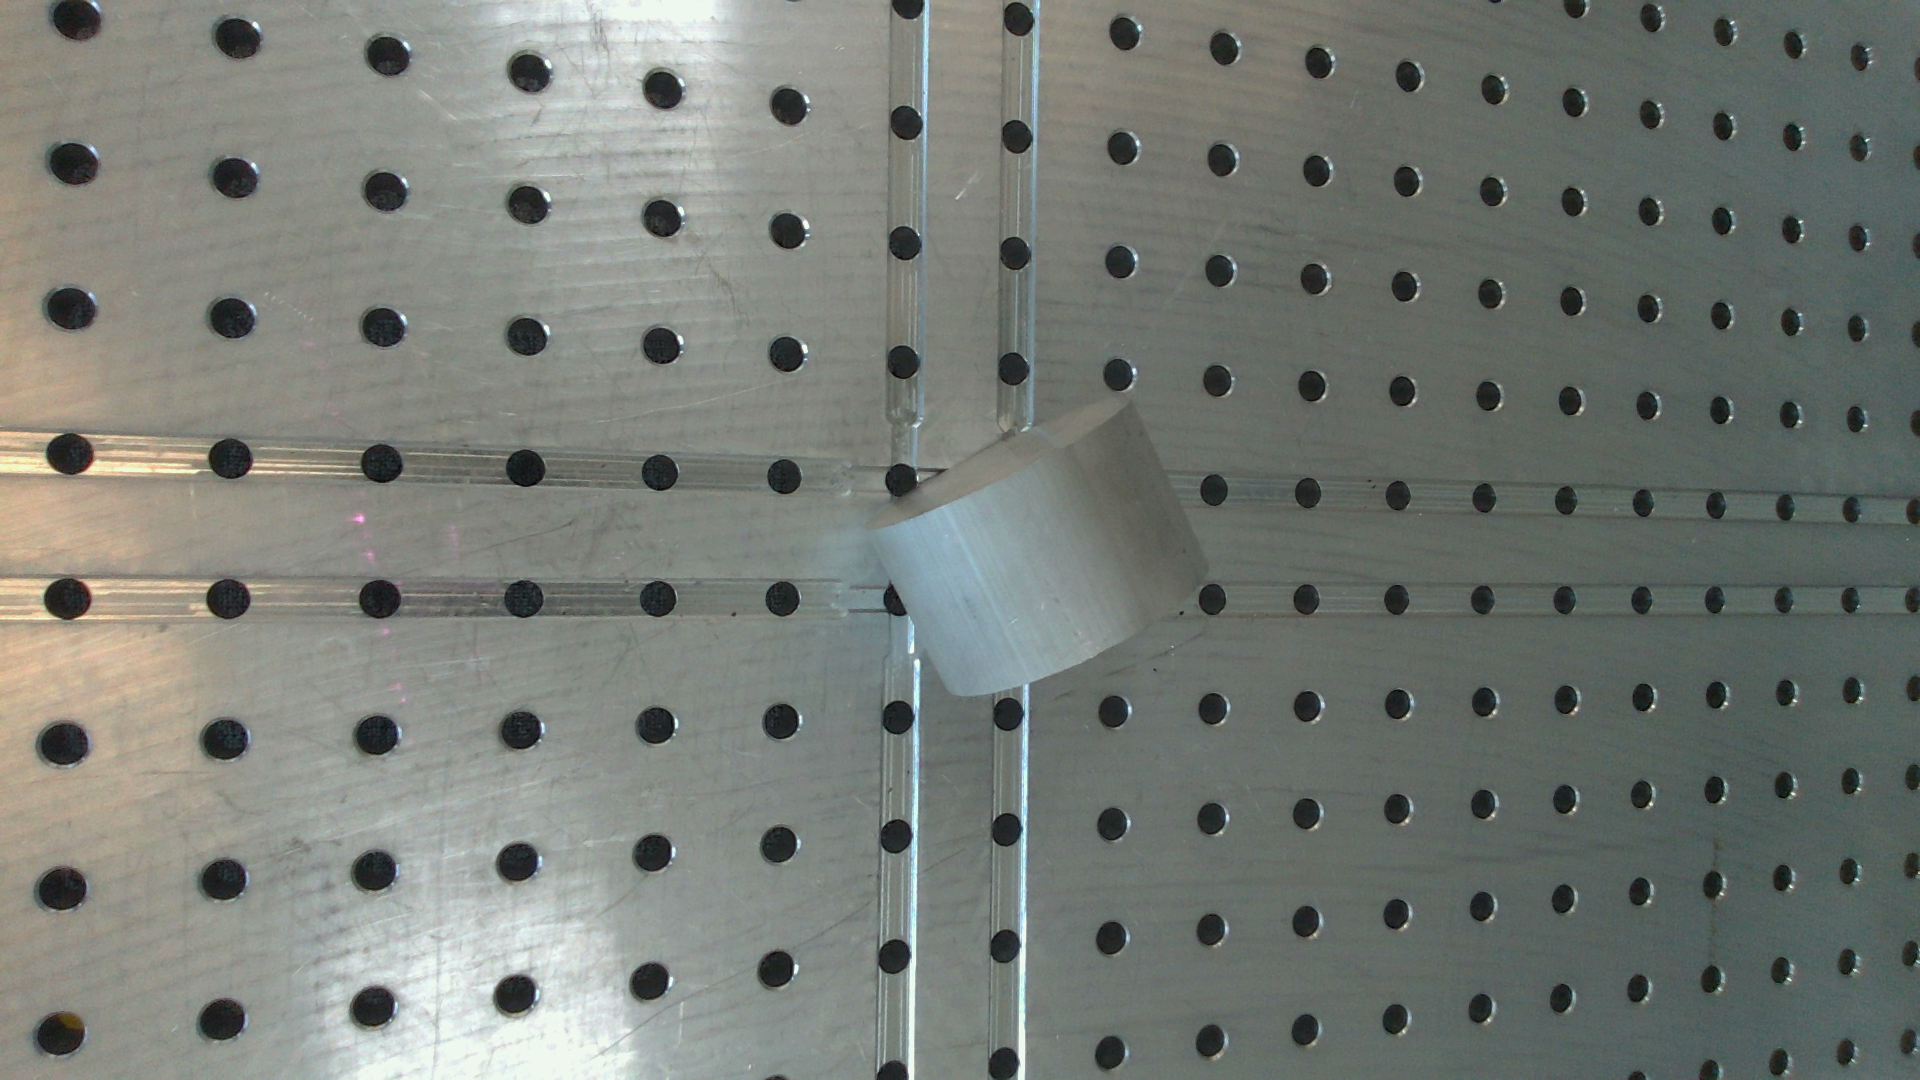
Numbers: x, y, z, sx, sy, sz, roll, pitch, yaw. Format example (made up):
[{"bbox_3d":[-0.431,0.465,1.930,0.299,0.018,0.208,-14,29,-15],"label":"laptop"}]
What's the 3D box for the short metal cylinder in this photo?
[{"bbox_3d":[0.020,0.001,0.373,0.080,0.080,0.050,-30,99,-17],"label":"short metal cylinder"}]
